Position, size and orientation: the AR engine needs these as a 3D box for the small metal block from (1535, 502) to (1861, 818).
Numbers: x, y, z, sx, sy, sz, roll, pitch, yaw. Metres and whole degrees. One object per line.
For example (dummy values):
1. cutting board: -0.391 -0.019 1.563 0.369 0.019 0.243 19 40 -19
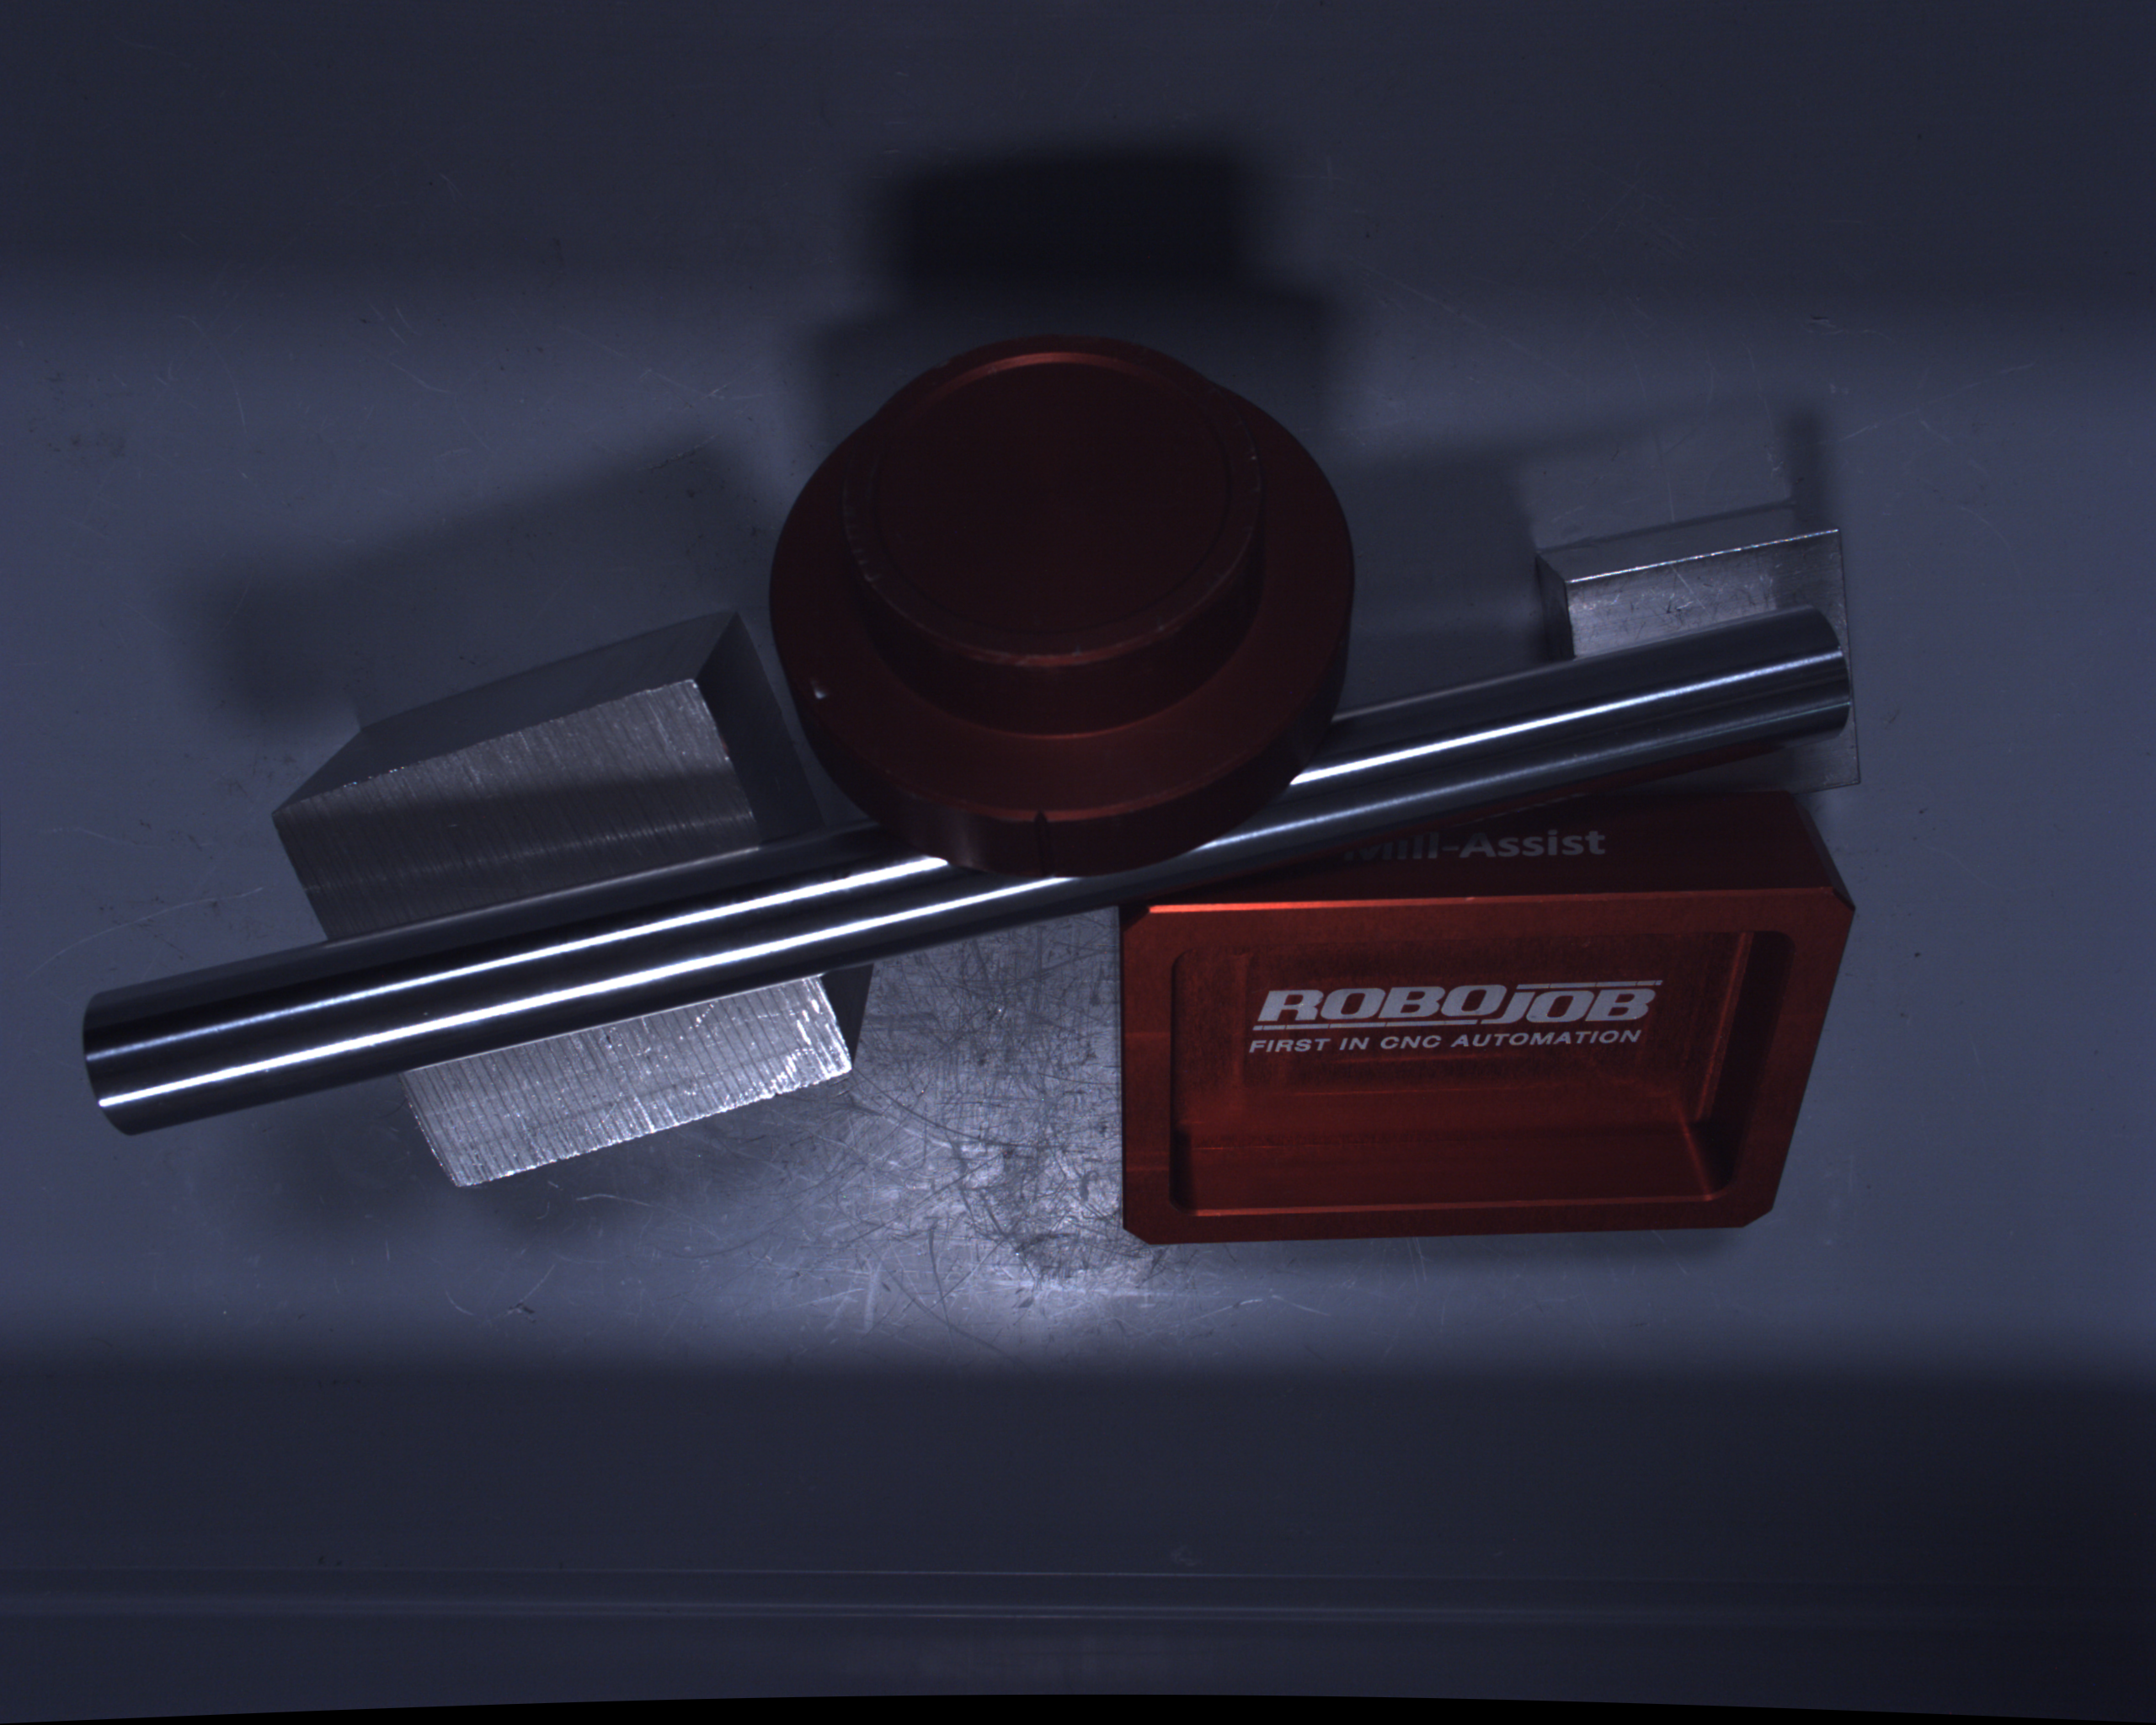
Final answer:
1. small metal block: 0.118 -0.037 0.397 0.050 0.025 0.050 -11 110 3

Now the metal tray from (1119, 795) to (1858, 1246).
1. metal tray: 0.073 0.032 0.405 0.131 0.030 0.089 -2 130 -1

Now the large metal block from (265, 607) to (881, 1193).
1. large metal block: -0.091 0.006 0.396 0.080 0.050 0.080 -17 110 5

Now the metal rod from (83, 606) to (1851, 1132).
1. metal rod: -0.015 0.000 0.362 0.302 0.025 0.025 -13 110 -4

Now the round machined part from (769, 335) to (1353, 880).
1. round machined part: -0.003 -0.049 0.350 0.099 0.098 0.042 -4 151 1
